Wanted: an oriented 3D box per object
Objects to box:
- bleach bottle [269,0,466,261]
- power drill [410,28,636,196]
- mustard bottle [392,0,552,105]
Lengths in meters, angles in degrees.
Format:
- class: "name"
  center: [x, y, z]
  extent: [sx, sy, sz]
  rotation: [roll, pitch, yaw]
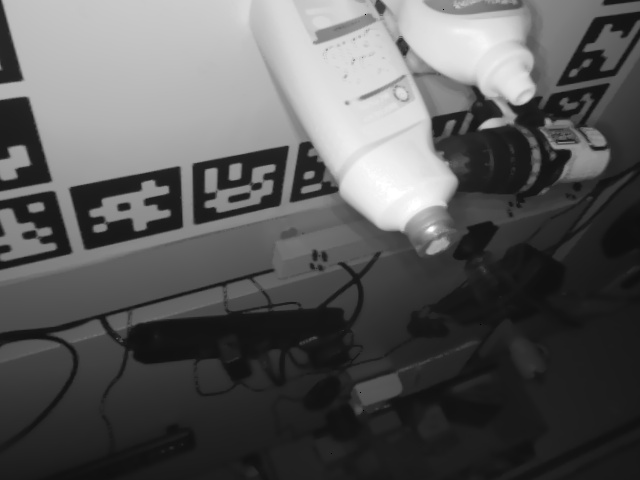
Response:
- class: "bleach bottle"
  center: [0.045, -0.098, 0.509]
  extent: [0.104, 0.251, 0.067]
  rotation: [-11, 150, -22]
- class: "power drill"
  center: [0.145, -0.115, 0.559]
  extent: [0.187, 0.187, 0.056]
  rotation: [-3, 142, -28]
- class: "mustard bottle"
  center: [0.110, -0.166, 0.502]
  extent: [0.097, 0.191, 0.058]
  rotation: [-11, 145, -19]
